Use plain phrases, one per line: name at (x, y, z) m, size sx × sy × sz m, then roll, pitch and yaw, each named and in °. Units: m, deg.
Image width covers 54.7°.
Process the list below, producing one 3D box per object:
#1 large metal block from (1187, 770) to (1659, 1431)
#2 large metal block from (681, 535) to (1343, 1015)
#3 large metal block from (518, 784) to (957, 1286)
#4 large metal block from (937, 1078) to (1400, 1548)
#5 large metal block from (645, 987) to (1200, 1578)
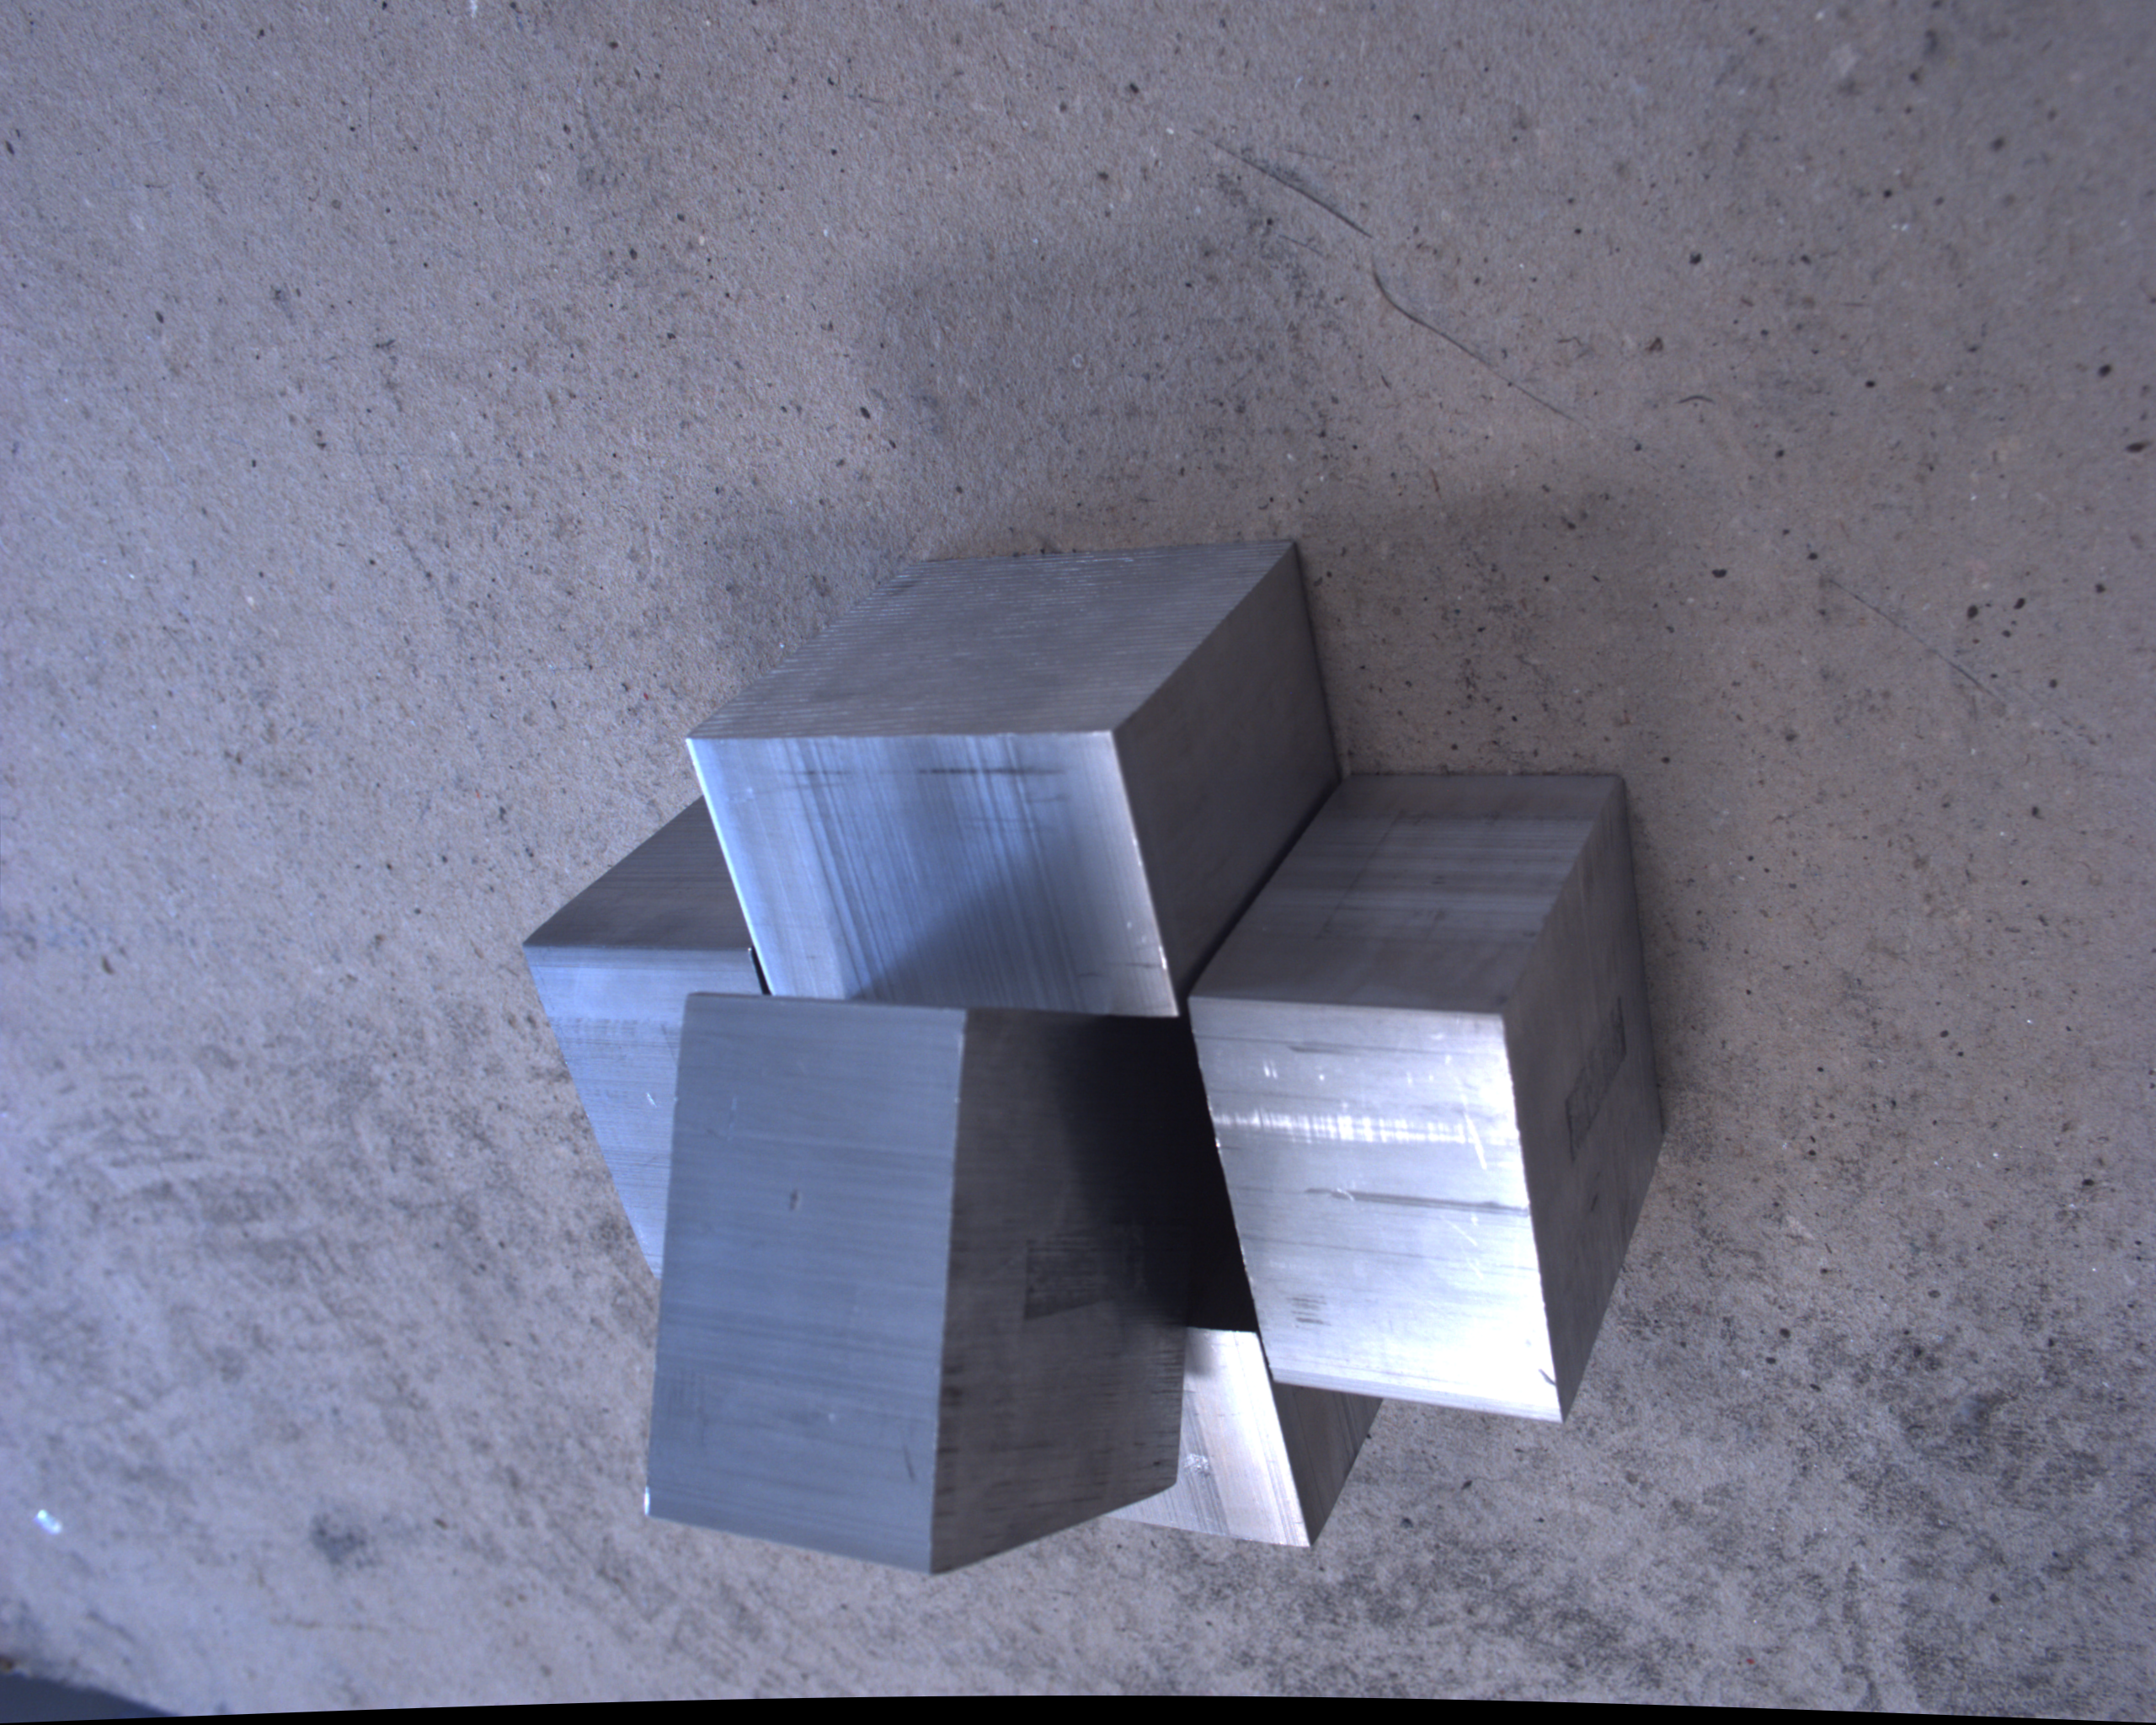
large metal block at (0.064, 0.037, 0.362) m, size 0.050 × 0.080 × 0.080 m, roll 1°, pitch 119°, yaw 27°
large metal block at (-0.008, -0.018, 0.367) m, size 0.080 × 0.080 × 0.050 m, roll 1°, pitch 119°, yaw 28°
large metal block at (-0.055, 0.031, 0.420) m, size 0.050 × 0.080 × 0.080 m, roll 0°, pitch 118°, yaw 28°
large metal block at (0.018, 0.083, 0.415) m, size 0.080 × 0.080 × 0.050 m, roll 0°, pitch 118°, yaw 28°
large metal block at (-0.021, 0.063, 0.338) m, size 0.050 × 0.080 × 0.080 m, roll 1°, pitch 85°, yaw 28°
